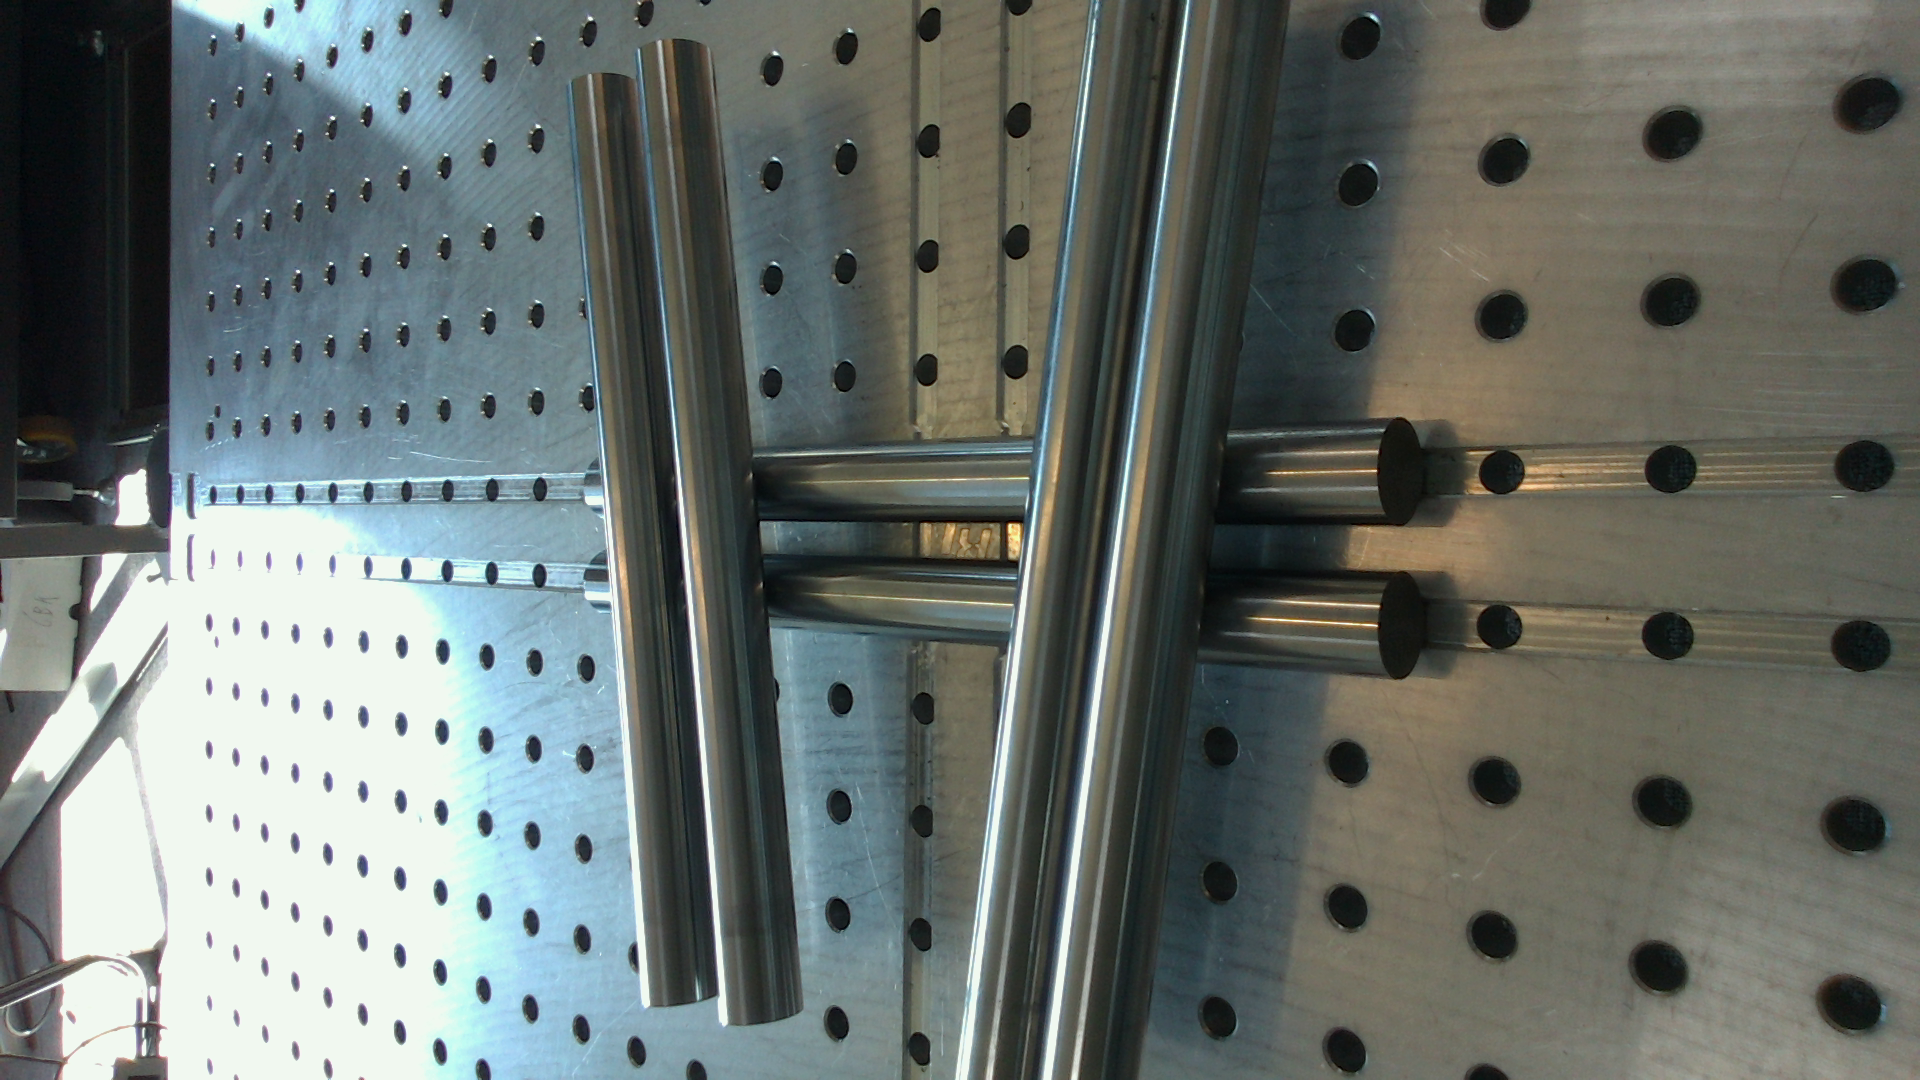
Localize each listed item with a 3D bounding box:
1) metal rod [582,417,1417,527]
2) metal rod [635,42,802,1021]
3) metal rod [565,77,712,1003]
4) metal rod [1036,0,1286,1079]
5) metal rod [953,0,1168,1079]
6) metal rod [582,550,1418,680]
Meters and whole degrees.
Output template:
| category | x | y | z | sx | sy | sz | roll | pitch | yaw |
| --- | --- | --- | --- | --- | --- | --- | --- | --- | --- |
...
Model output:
| category | x | y | z | sx | sy | sz | roll | pitch | yaw |
| --- | --- | --- | --- | --- | --- | --- | --- | --- | --- |
| metal rod | -0.014 | -0.018 | 0.411 | 0.299 | 0.025 | 0.025 | 1 | 91 | 40 |
| metal rod | -0.076 | -0.006 | 0.430 | 0.025 | 0.025 | 0.300 | -10 | 83 | 40 |
| metal rod | -0.105 | -0.004 | 0.454 | 0.025 | 0.025 | 0.300 | -11 | 83 | 40 |
| metal rod | 0.047 | -0.001 | 0.326 | 0.025 | 0.025 | 0.300 | 12 | 98 | 40 |
| metal rod | 0.027 | -0.001 | 0.343 | 0.025 | 0.025 | 0.300 | 12 | 98 | 40 |
| metal rod | -0.014 | 0.017 | 0.411 | 0.299 | 0.025 | 0.025 | 1 | 91 | 40 |
